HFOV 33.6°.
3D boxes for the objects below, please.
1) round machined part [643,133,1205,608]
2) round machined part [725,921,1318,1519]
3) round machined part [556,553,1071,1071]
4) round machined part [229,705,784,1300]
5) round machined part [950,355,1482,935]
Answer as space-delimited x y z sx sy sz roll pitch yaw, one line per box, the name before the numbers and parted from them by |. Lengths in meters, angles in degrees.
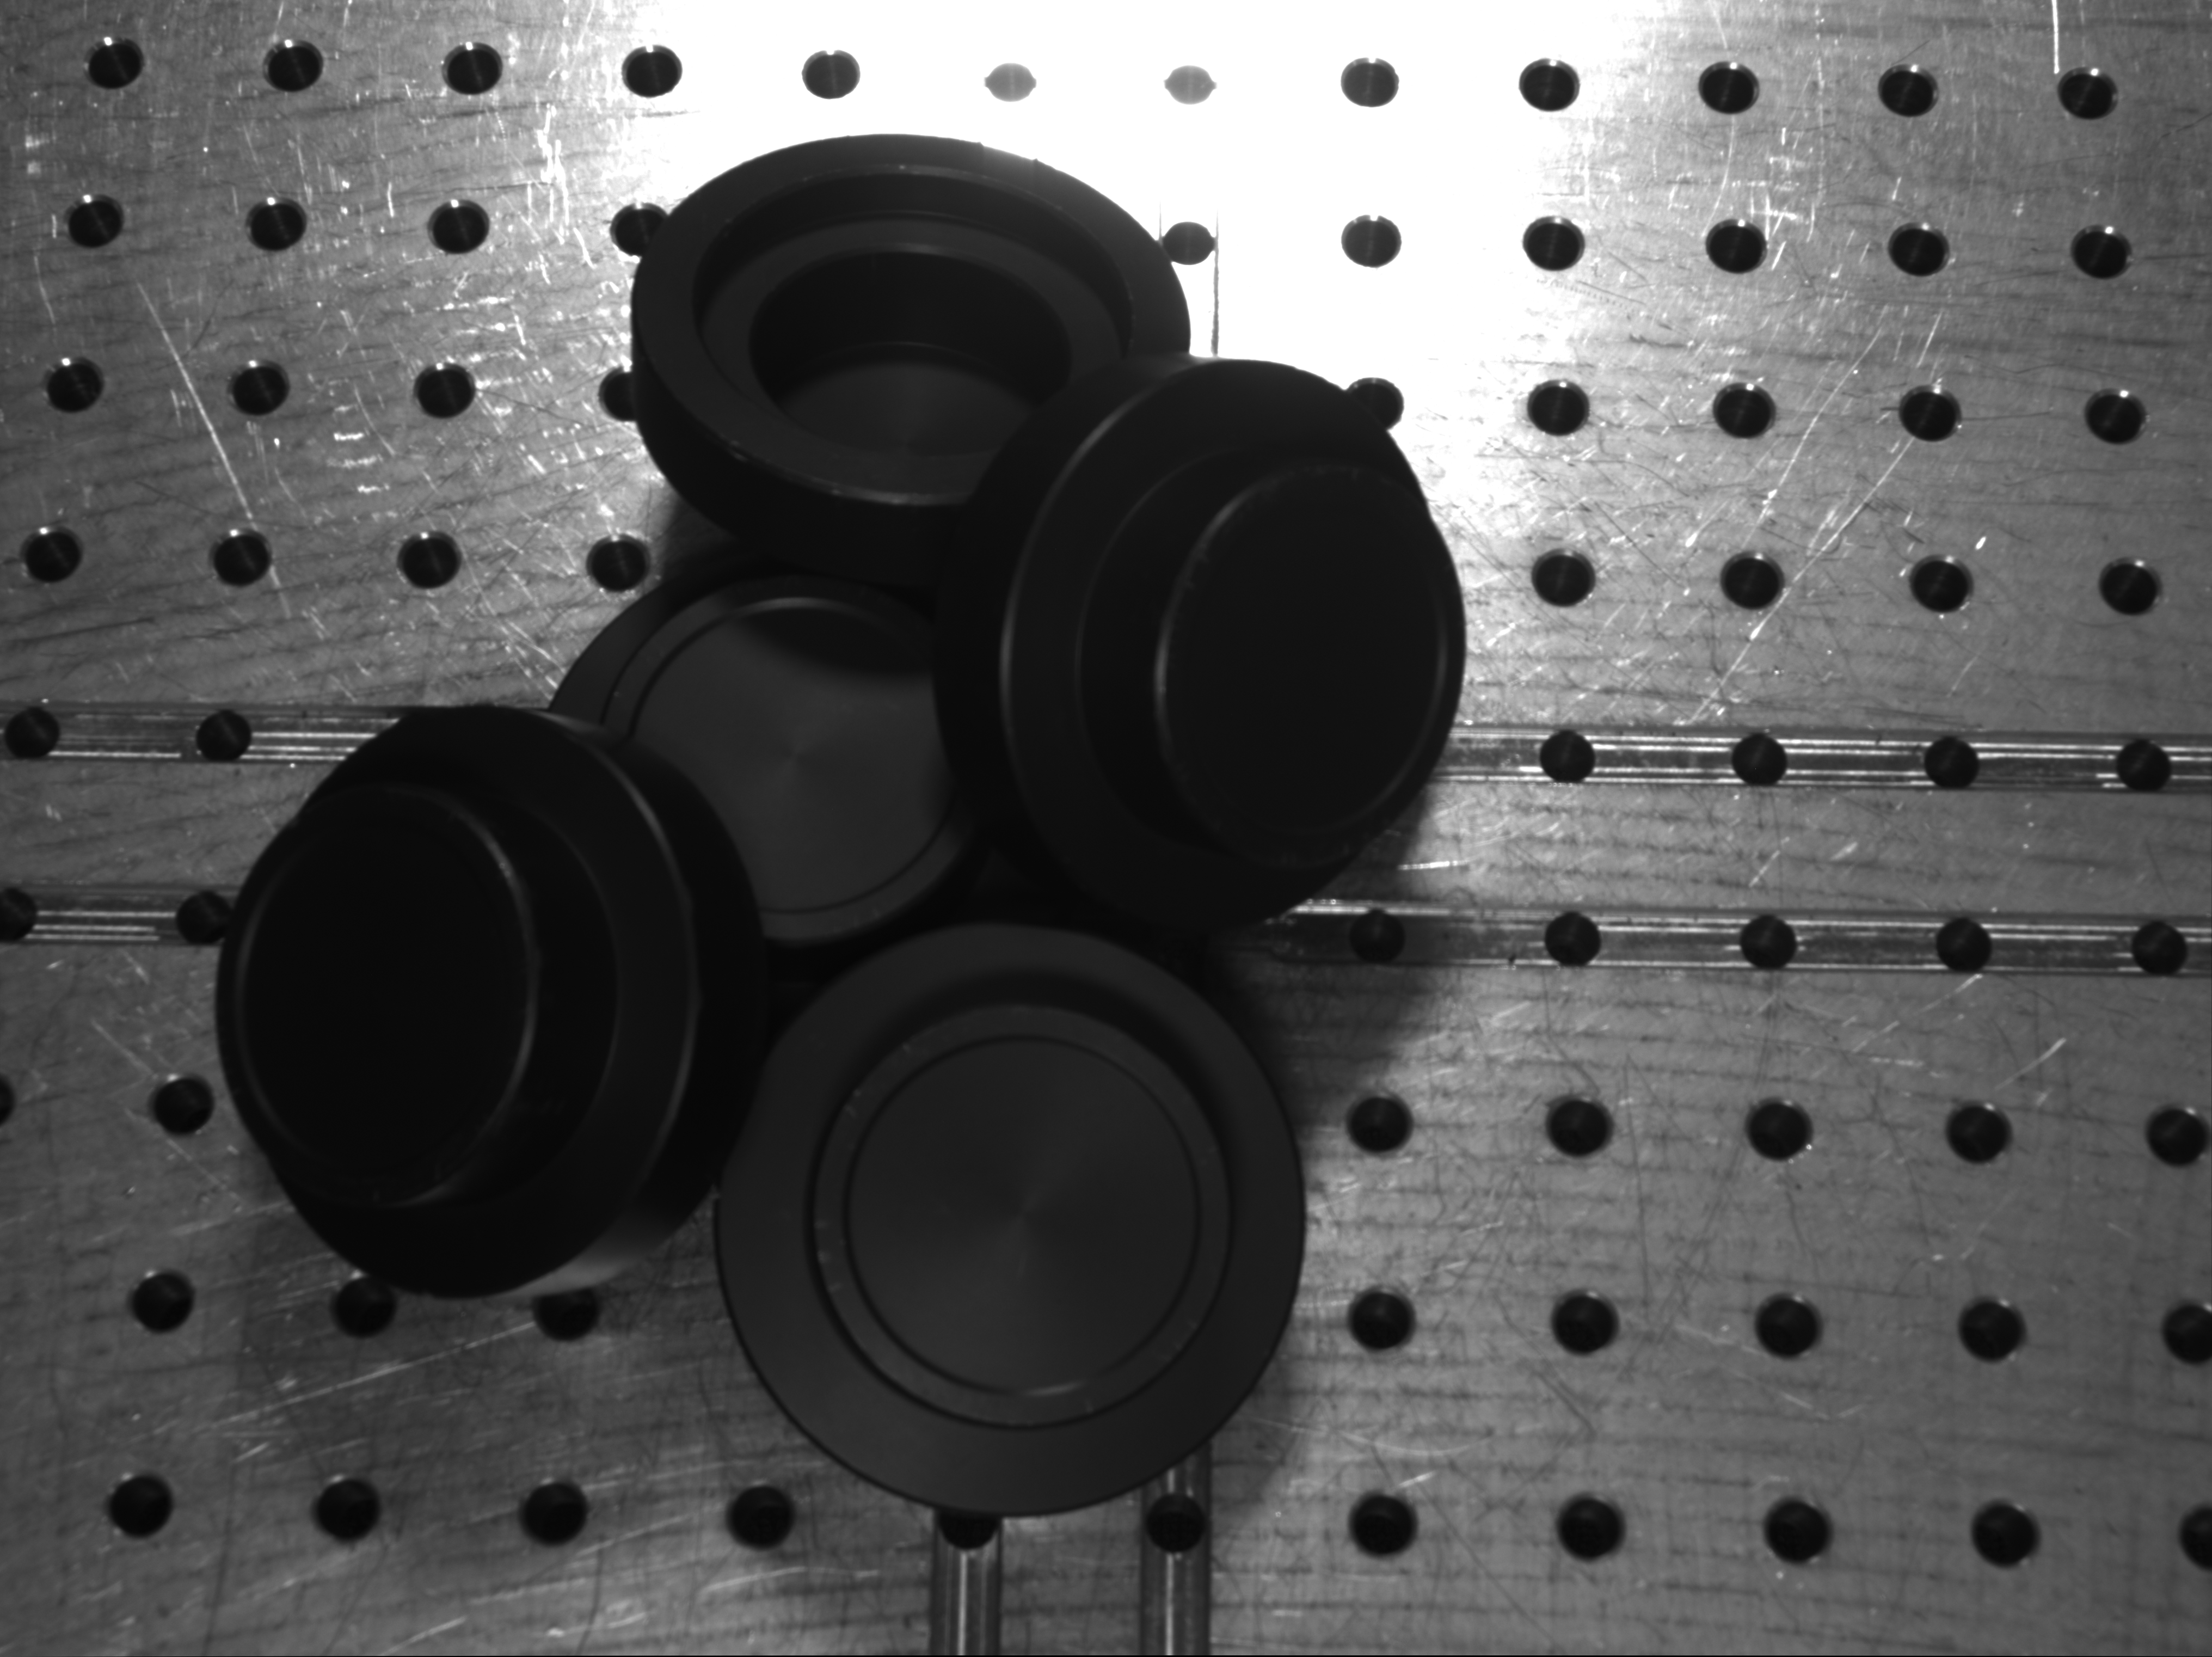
round machined part | -0.033 -0.077 0.655 0.098 0.042 0.098 3 49 -4
round machined part | -0.013 0.064 0.602 0.098 0.042 0.098 1 81 -6
round machined part | -0.051 -0.006 0.639 0.098 0.042 0.098 0 70 0
round machined part | -0.105 0.028 0.603 0.098 0.042 0.098 -4 83 30
round machined part | 0.025 -0.030 0.618 0.042 0.098 0.098 15 64 50
